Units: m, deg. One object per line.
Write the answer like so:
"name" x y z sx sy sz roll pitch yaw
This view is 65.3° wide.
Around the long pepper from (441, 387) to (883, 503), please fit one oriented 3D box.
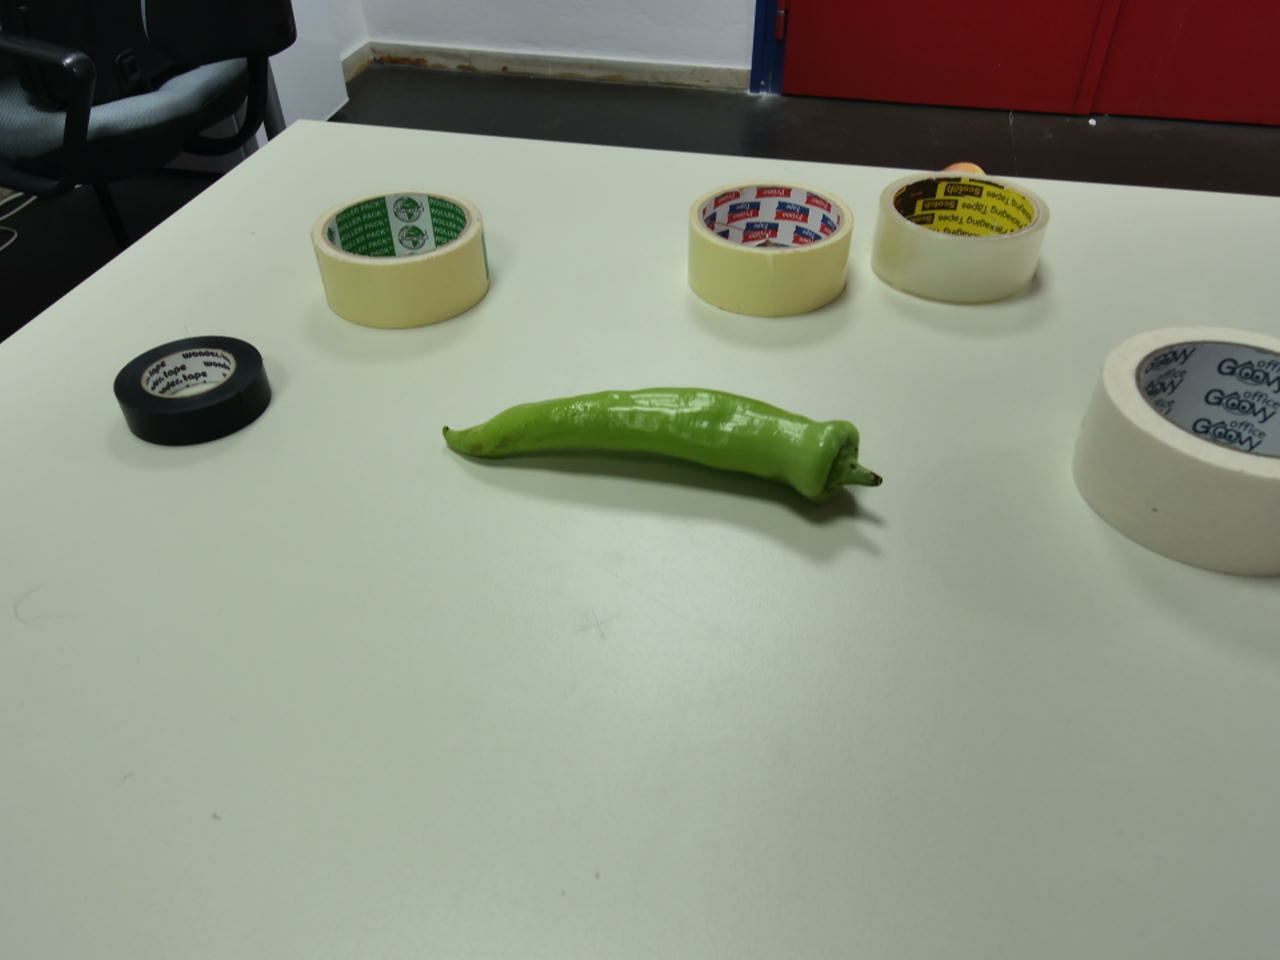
"long pepper" 0.006 -0.022 0.437 0.197 0.038 0.046 10 39 13
